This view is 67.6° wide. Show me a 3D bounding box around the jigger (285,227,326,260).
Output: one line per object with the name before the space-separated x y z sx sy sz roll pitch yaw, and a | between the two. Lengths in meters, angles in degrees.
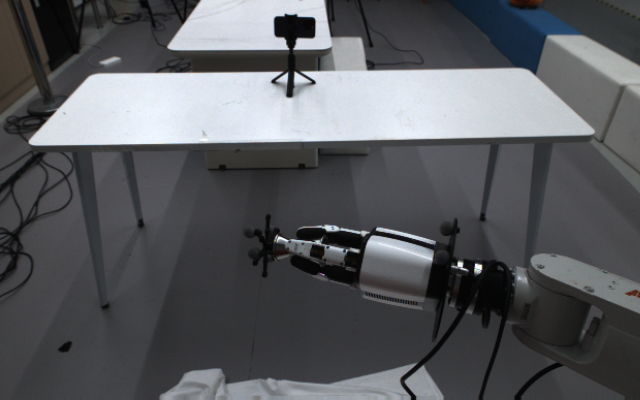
jigger | -0.018 0.062 0.667 0.071 0.043 0.043 2 34 16
